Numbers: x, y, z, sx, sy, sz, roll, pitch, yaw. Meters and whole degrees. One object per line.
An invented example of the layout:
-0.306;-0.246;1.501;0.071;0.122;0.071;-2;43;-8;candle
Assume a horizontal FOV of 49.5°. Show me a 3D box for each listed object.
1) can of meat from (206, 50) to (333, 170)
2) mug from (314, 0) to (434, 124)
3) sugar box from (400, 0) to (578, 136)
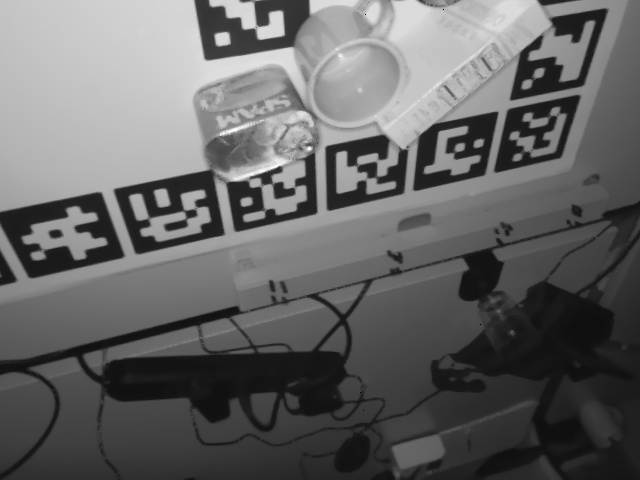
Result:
-0.049;-0.121;0.633;0.102;0.084;0.057;-18;139;-4;can of meat
0.048;-0.173;0.611;0.094;0.081;0.115;7;128;-28;mug
0.136;-0.185;0.642;0.174;0.093;0.046;-38;137;18;sugar box
